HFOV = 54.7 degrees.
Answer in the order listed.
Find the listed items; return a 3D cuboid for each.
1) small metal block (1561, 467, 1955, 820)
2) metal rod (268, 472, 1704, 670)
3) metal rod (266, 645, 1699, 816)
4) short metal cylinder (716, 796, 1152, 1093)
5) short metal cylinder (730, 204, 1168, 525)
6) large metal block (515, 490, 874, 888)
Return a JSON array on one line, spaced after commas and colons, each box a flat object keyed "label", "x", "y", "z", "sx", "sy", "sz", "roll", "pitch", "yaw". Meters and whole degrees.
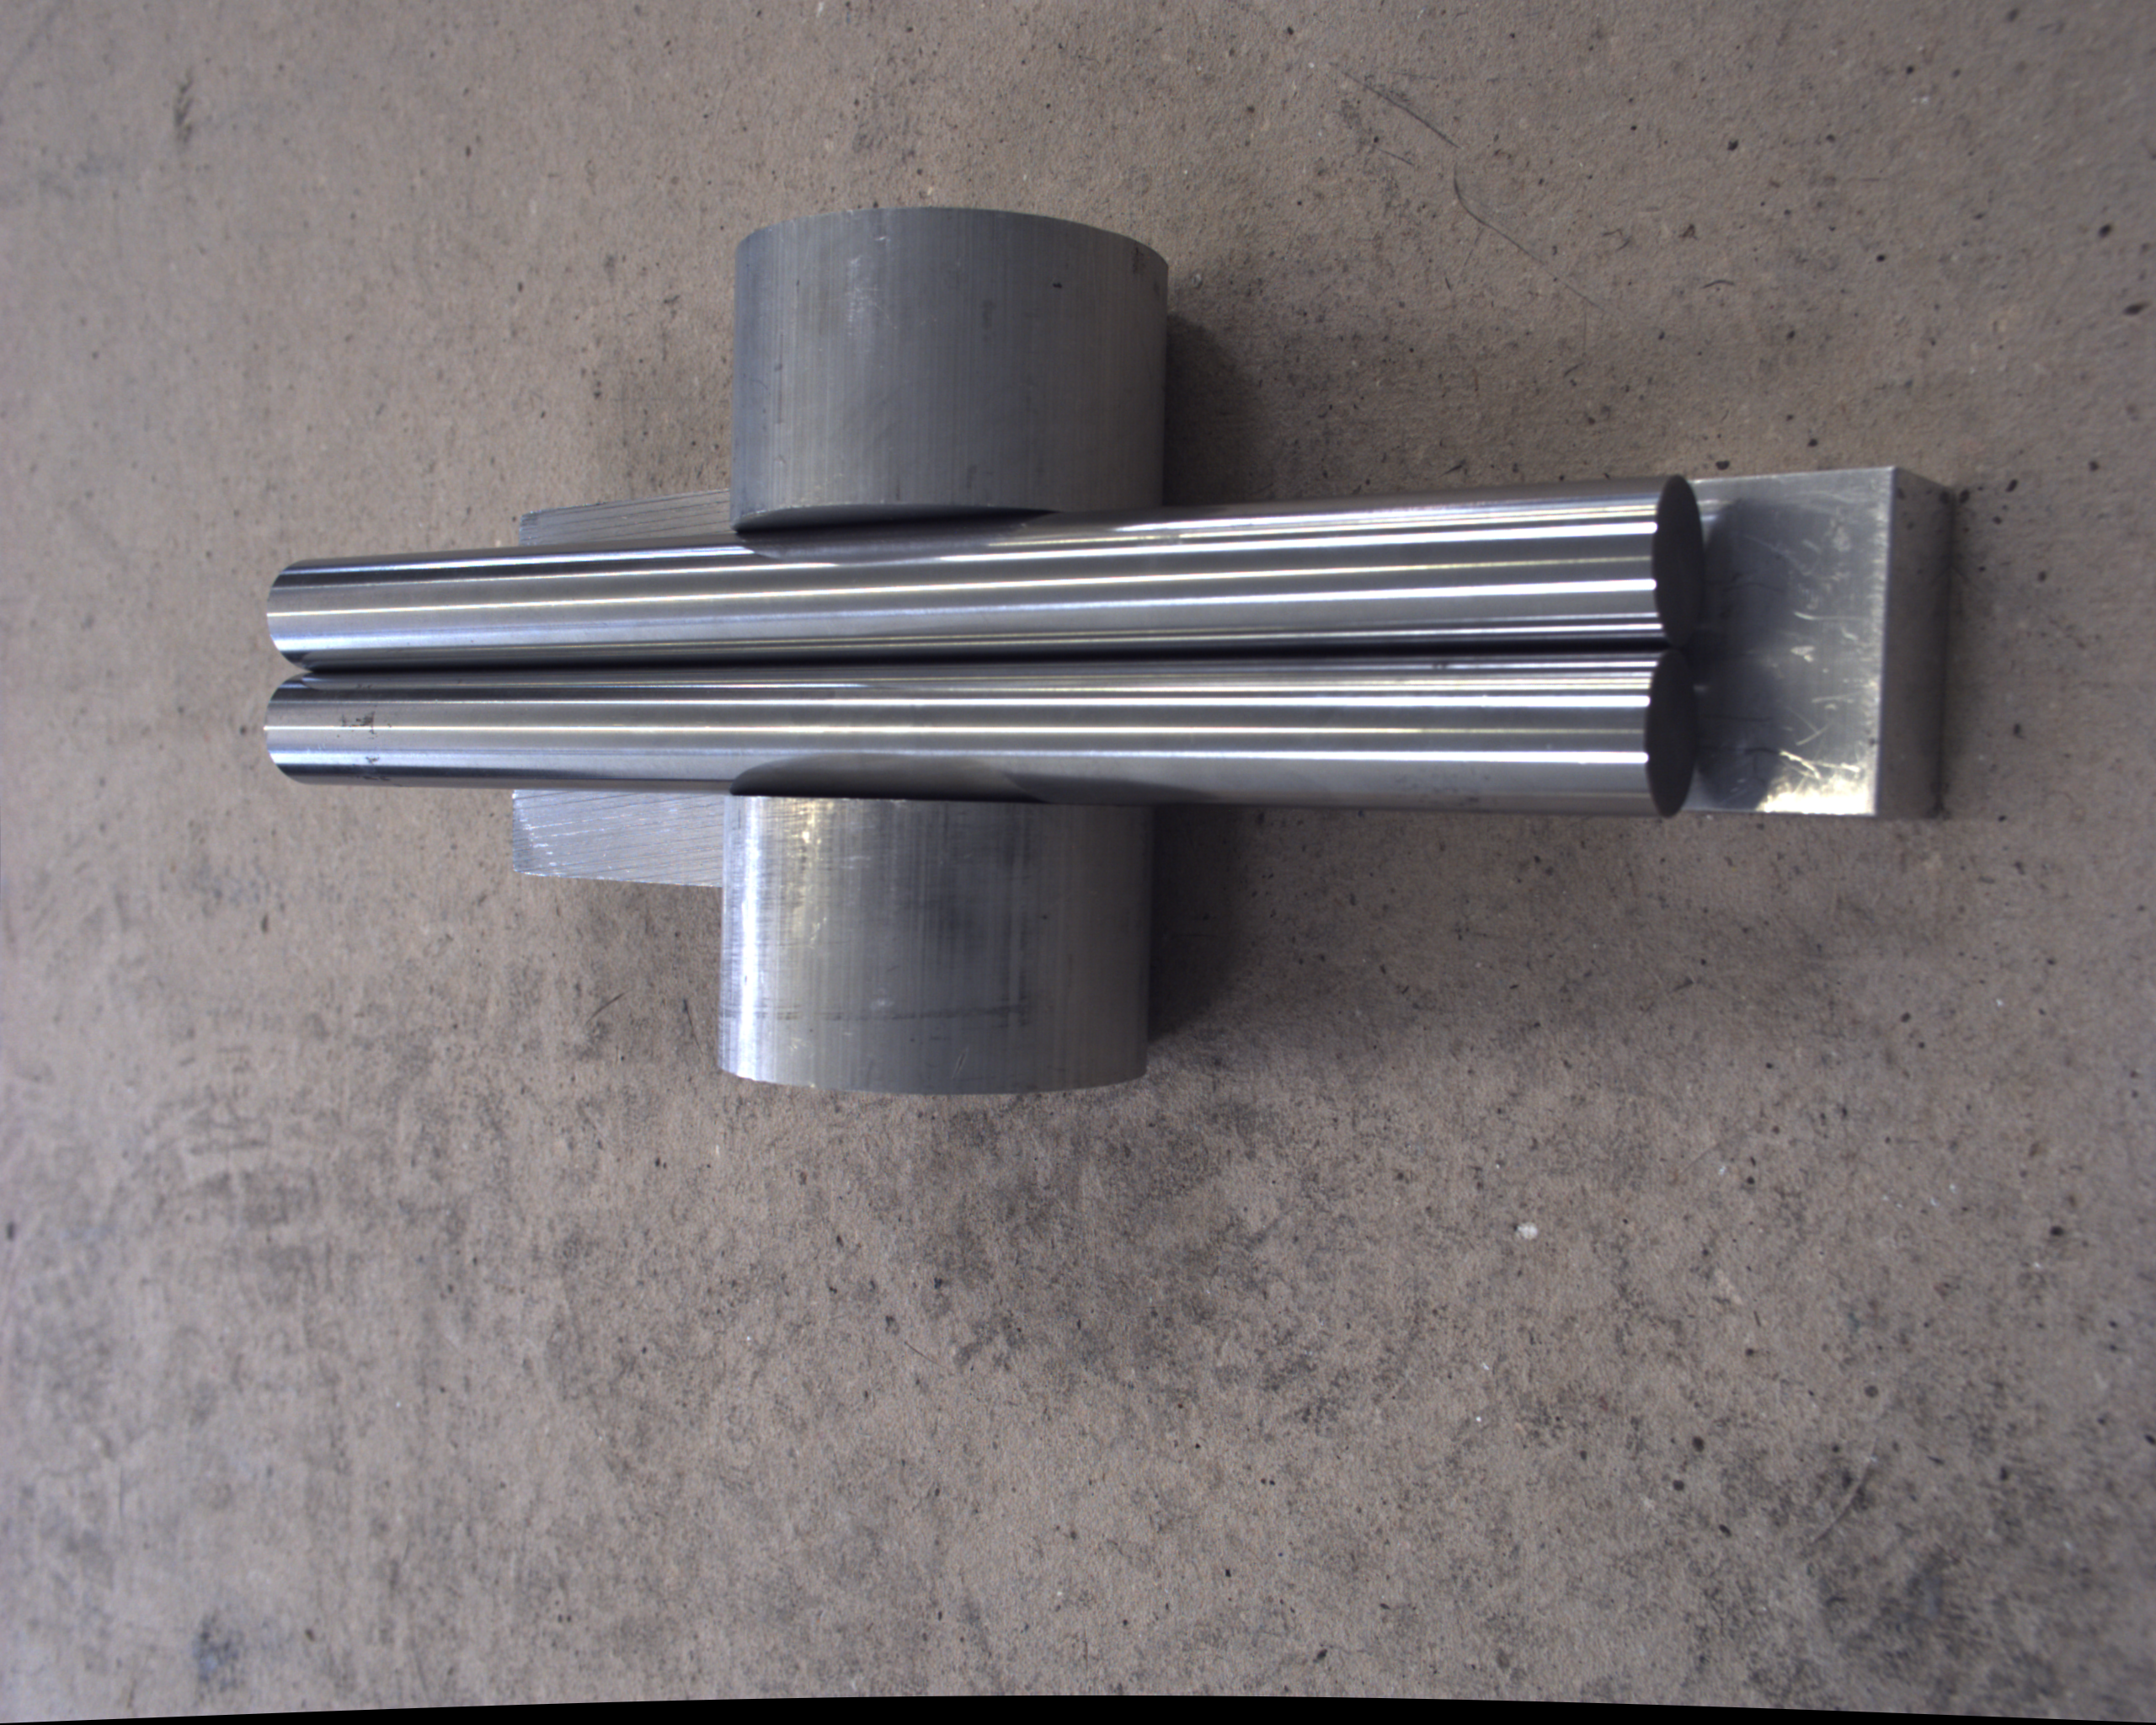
[{"label": "small metal block", "x": 0.104, "y": -0.033, "z": 0.321, "sx": 0.050, "sy": 0.025, "sz": 0.050, "roll": 4, "pitch": 93, "yaw": 40}, {"label": "metal rod", "x": -0.040, "y": -0.049, "z": 0.381, "sx": 0.300, "sy": 0.025, "sz": 0.025, "roll": 2, "pitch": 92, "yaw": 32}, {"label": "metal rod", "x": -0.041, "y": -0.024, "z": 0.382, "sx": 0.300, "sy": 0.025, "sz": 0.025, "roll": 2, "pitch": 92, "yaw": 32}, {"label": "short metal cylinder", "x": -0.027, "y": 0.013, "z": 0.393, "sx": 0.080, "sy": 0.081, "sz": 0.050, "roll": 2, "pitch": 92, "yaw": 40}, {"label": "short metal cylinder", "x": -0.024, "y": -0.087, "z": 0.390, "sx": 0.080, "sy": 0.081, "sz": 0.050, "roll": 2, "pitch": 92, "yaw": 40}, {"label": "large metal block", "x": -0.076, "y": -0.036, "z": 0.453, "sx": 0.080, "sy": 0.050, "sz": 0.079, "roll": 3, "pitch": 92, "yaw": 40}]
